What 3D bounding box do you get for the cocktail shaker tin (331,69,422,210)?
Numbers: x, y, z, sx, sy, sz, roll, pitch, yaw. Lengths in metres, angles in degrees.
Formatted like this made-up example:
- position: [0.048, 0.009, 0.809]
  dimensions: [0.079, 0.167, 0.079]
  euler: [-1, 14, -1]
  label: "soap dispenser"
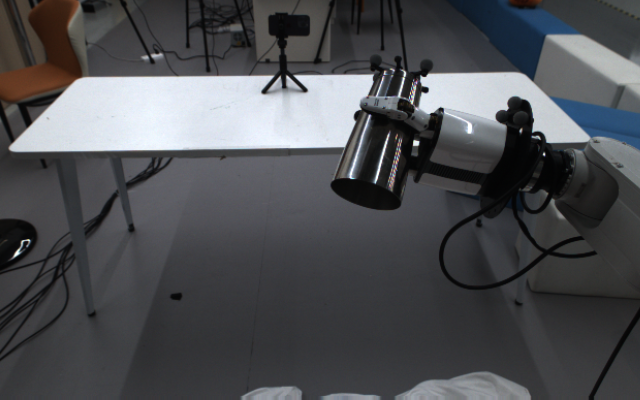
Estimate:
- position: [0.081, -0.084, 0.631]
  dimensions: [0.093, 0.093, 0.170]
  euler: [13, 70, 15]
  label: "cocktail shaker tin"
